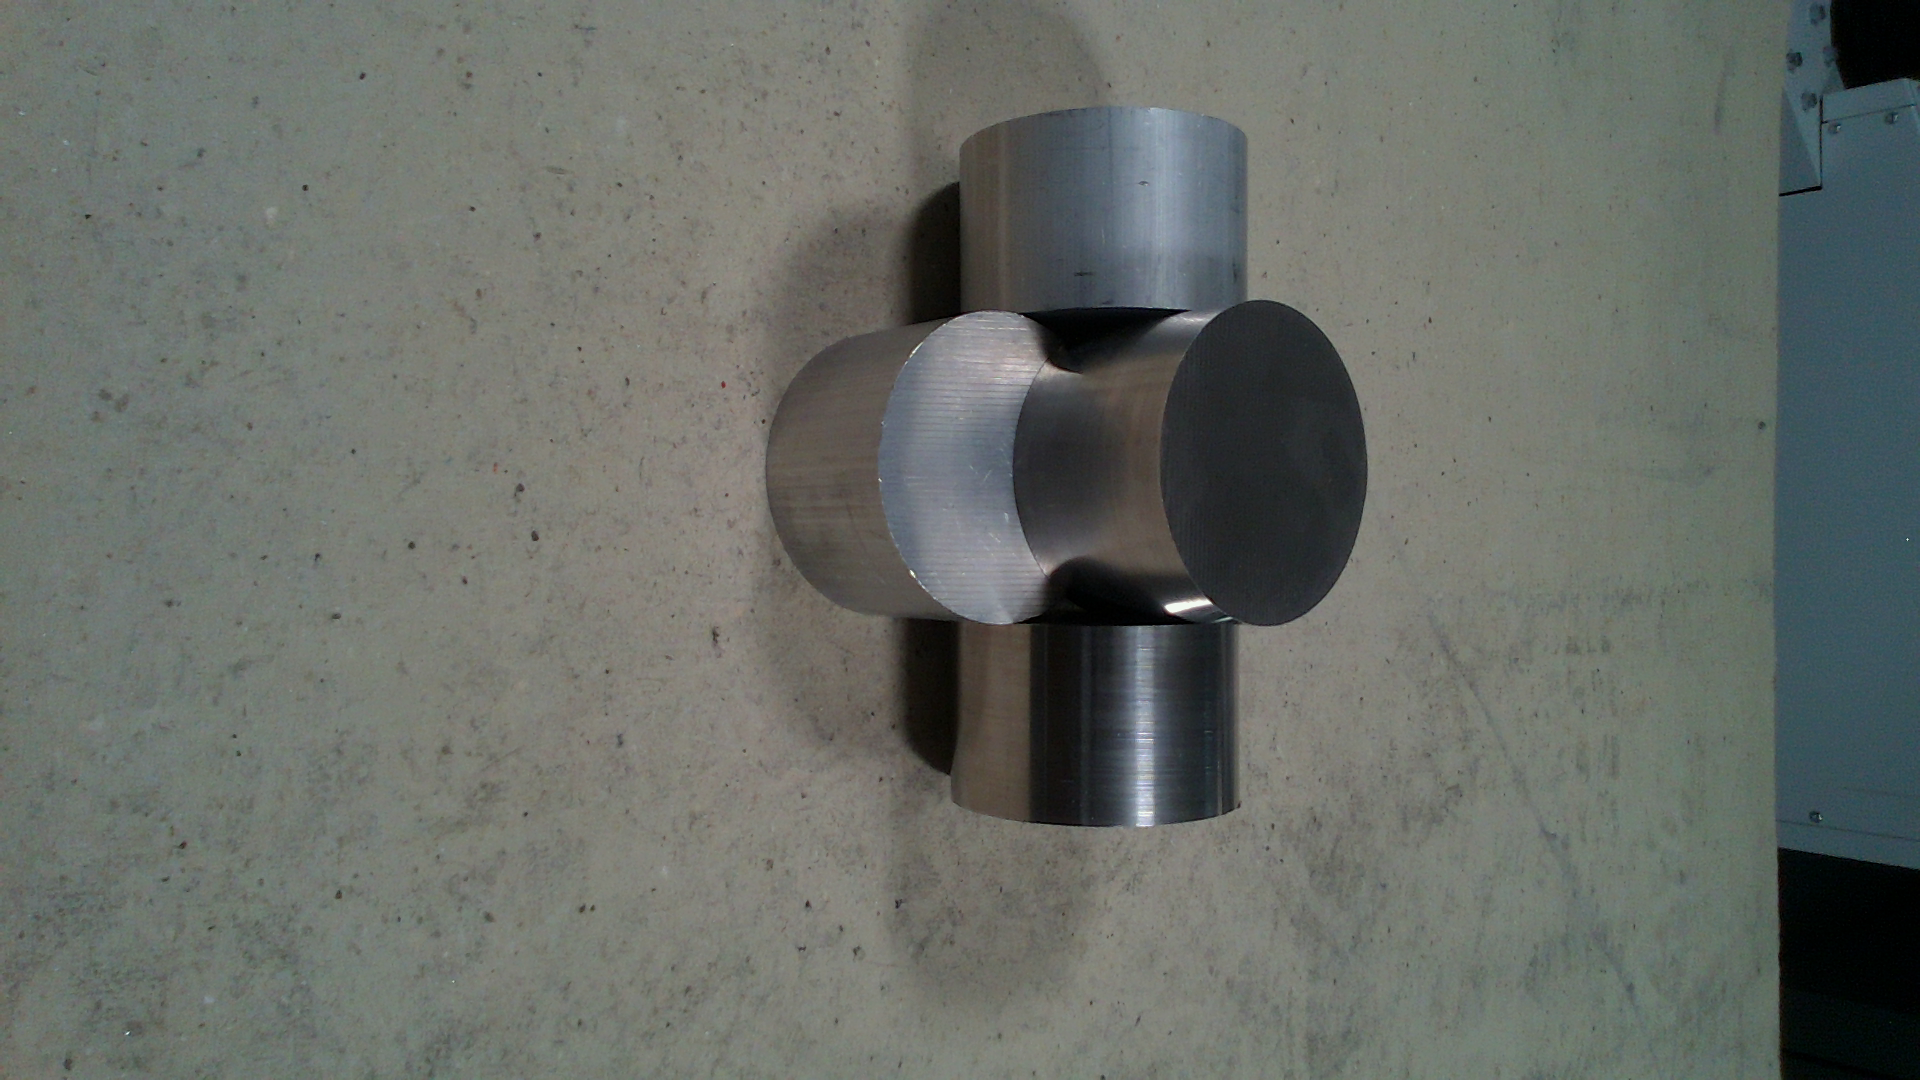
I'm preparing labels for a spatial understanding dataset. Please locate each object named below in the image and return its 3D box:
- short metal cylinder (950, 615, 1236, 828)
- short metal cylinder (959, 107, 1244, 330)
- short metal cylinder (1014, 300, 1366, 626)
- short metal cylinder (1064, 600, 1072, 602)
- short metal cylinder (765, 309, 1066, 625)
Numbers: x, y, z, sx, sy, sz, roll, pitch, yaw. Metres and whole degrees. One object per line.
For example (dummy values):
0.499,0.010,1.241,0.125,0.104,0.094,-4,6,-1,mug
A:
0.037,0.047,0.385,0.080,0.080,0.050,0,90,-40,short metal cylinder
0.040,-0.084,0.387,0.080,0.080,0.050,0,90,-40,short metal cylinder
0.061,-0.019,0.358,0.080,0.050,0.080,0,90,-40,short metal cylinder
0.057,-0.019,0.420,0.080,0.050,0.080,0,90,-40,short metal cylinder
-0.004,-0.018,0.369,0.080,0.050,0.080,0,90,-40,short metal cylinder
